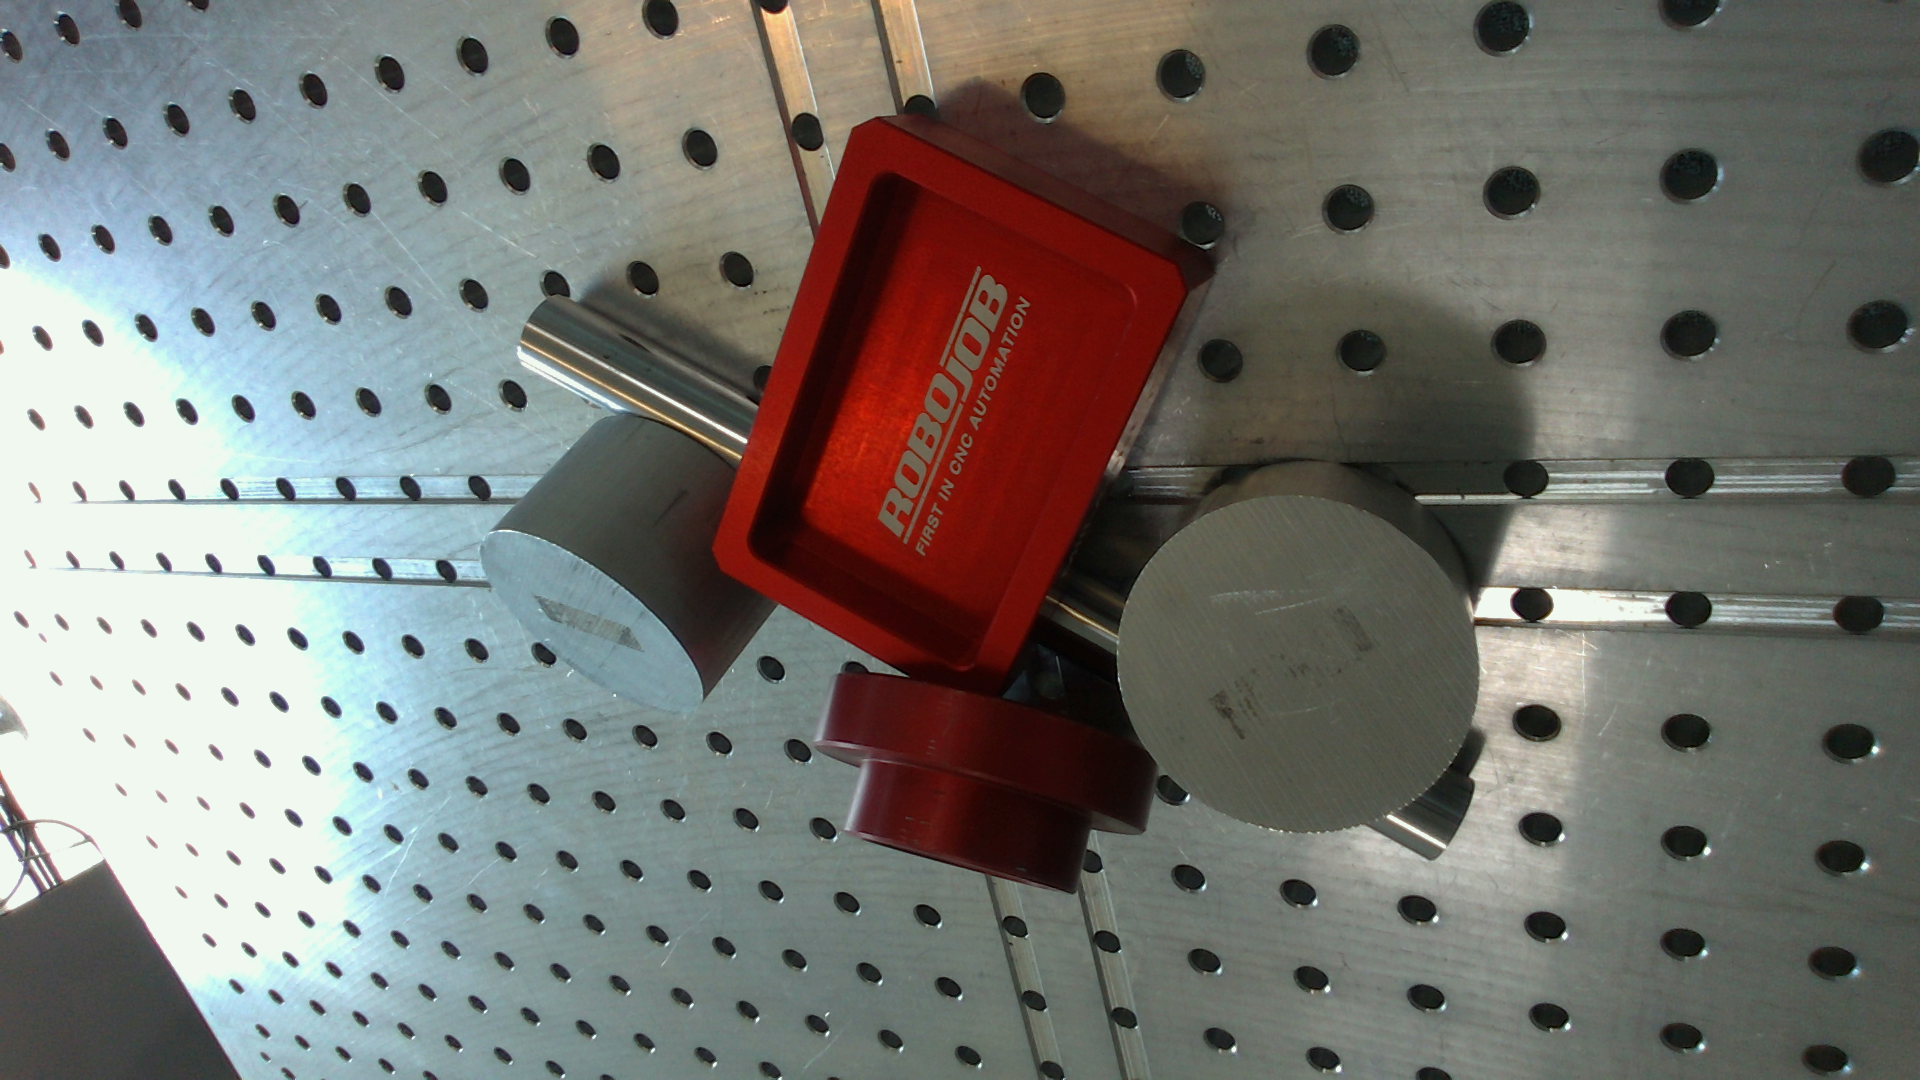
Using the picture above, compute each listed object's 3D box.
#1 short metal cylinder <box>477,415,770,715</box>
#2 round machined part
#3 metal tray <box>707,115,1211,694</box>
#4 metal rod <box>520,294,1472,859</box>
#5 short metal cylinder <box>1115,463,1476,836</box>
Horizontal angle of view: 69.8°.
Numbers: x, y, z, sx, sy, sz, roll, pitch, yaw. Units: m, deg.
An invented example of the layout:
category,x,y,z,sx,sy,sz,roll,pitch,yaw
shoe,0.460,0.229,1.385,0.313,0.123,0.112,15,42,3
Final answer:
category,x,y,z,sx,sy,sz,roll,pitch,yaw
short metal cylinder,-0.099,0.008,0.423,0.080,0.050,0.080,23,146,17
round machined part,0.004,0.072,0.392,0.098,0.042,0.098,14,166,4
metal tray,-0.004,-0.031,0.357,0.090,0.030,0.130,28,115,10
metal rod,0.002,0.005,0.398,0.300,0.025,0.025,28,128,10
short metal cylinder,0.082,0.025,0.335,0.080,0.050,0.080,4,103,17
